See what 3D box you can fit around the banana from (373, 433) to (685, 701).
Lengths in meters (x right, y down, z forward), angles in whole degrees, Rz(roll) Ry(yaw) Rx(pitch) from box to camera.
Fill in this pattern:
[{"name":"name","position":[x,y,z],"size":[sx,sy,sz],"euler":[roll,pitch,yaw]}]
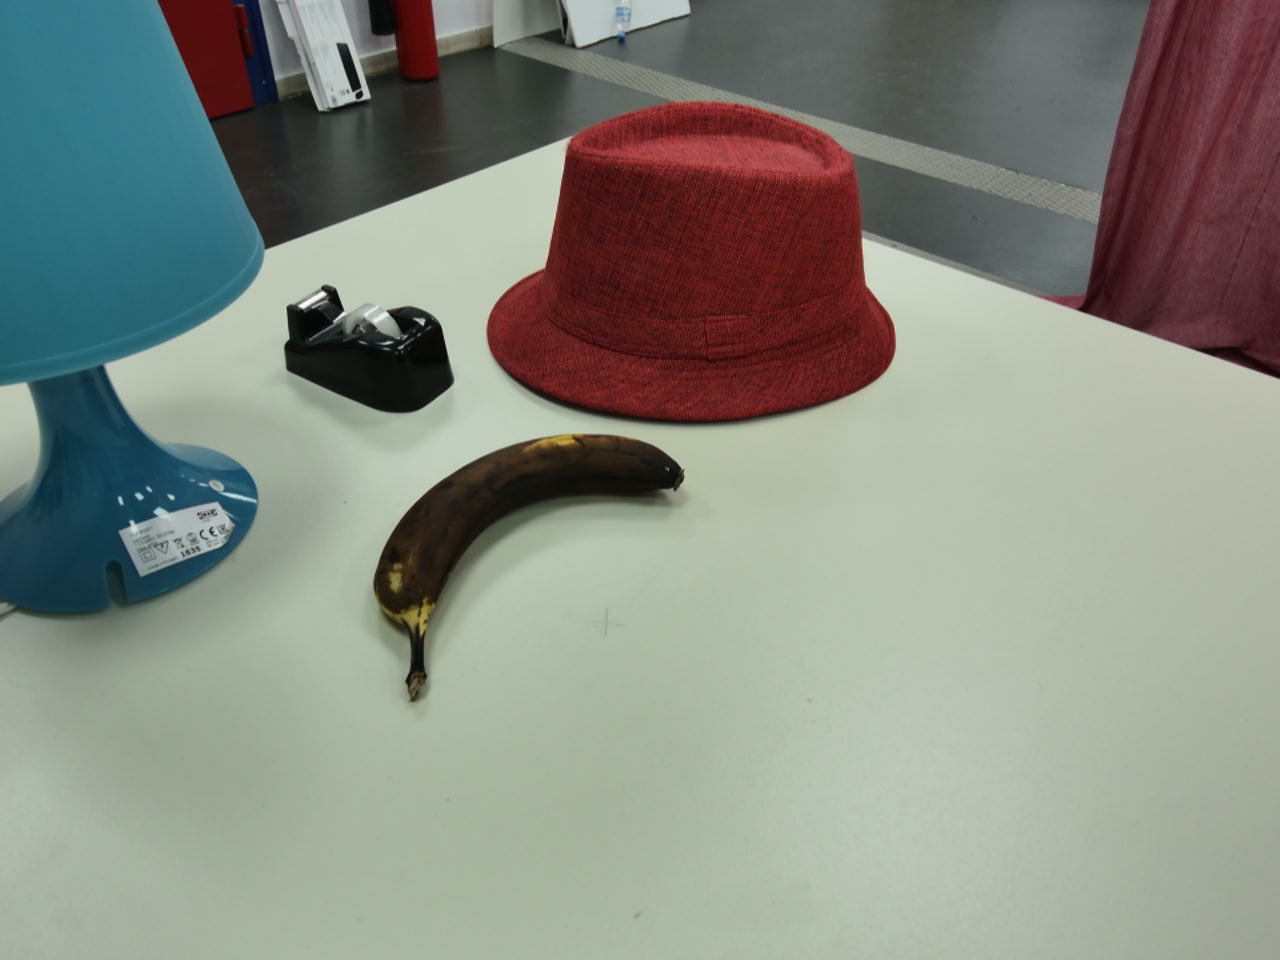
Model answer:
[{"name":"banana","position":[-0.066,0.020,0.491],"size":[0.091,0.034,0.188],"euler":[28,45,31]}]
